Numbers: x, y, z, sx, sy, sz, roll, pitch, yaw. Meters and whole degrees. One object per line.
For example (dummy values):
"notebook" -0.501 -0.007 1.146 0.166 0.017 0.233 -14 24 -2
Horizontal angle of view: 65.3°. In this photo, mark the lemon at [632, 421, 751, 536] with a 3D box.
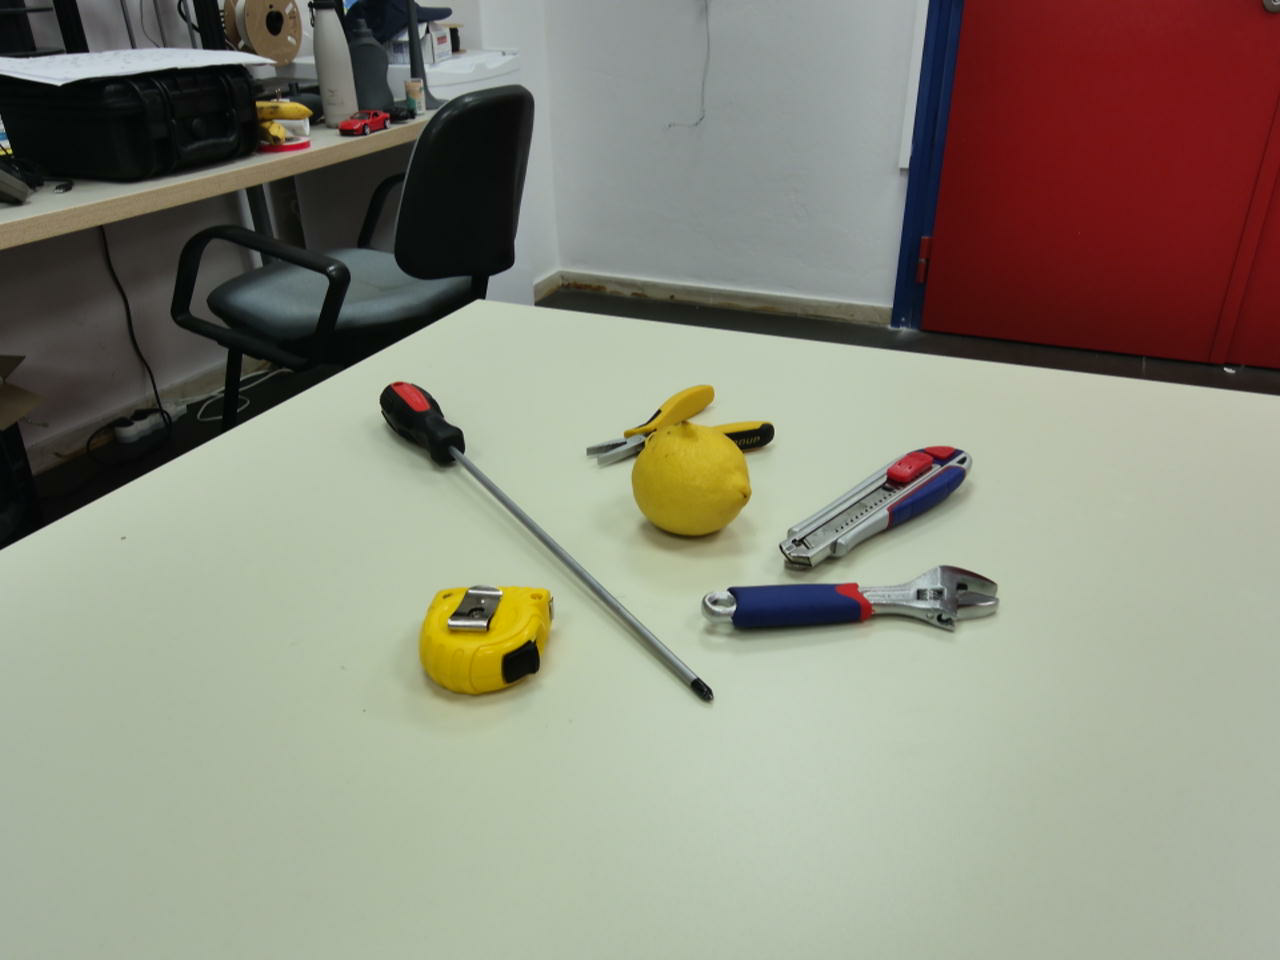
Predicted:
"lemon" 0.031 -0.003 0.604 0.070 0.071 0.071 -3 26 -9
